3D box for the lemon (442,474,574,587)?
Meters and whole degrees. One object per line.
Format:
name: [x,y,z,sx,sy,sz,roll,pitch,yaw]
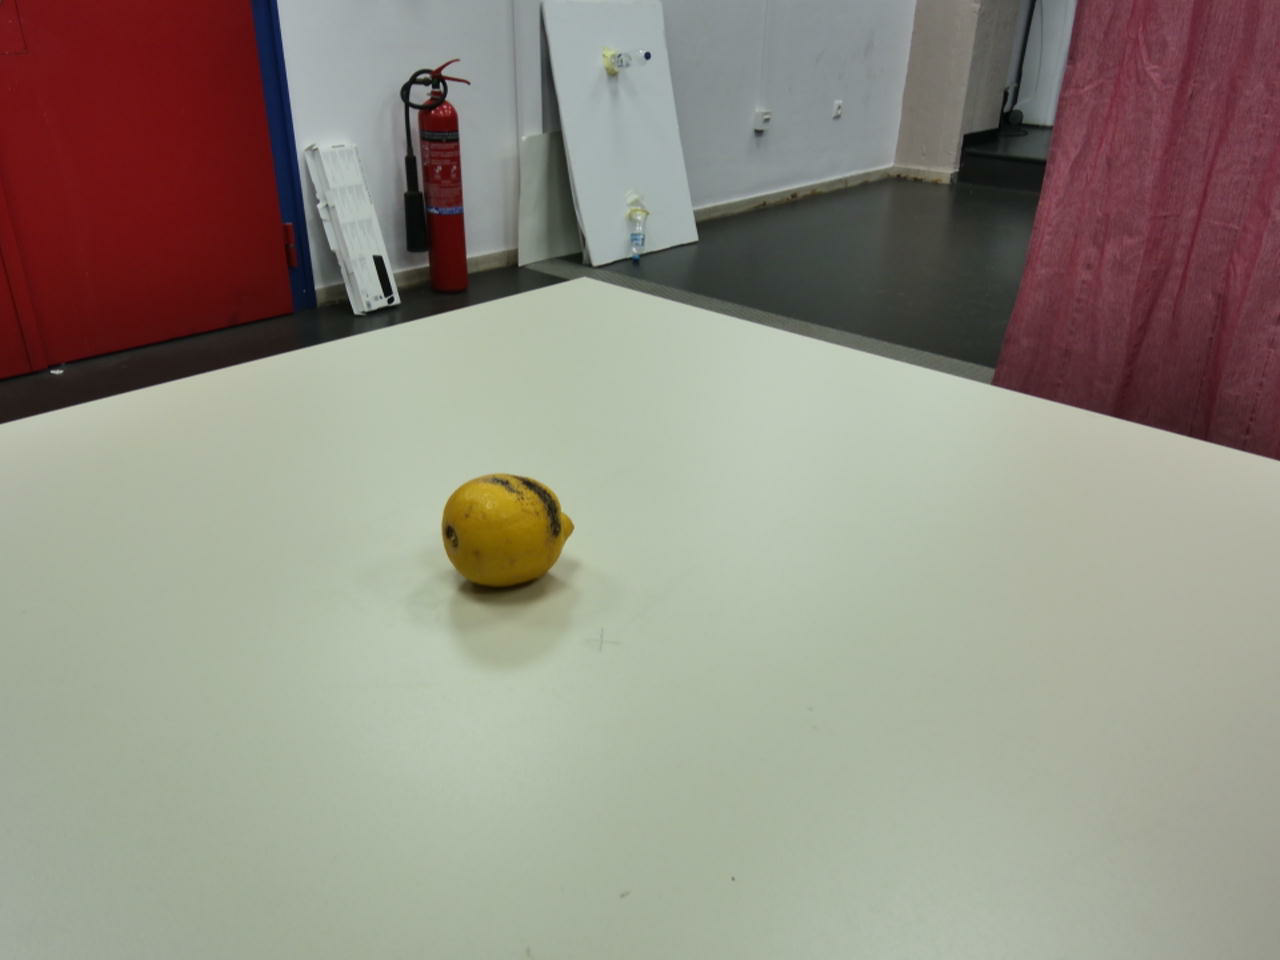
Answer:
lemon: [-0.068,0.025,0.498,0.058,0.056,0.061,16,29,30]
